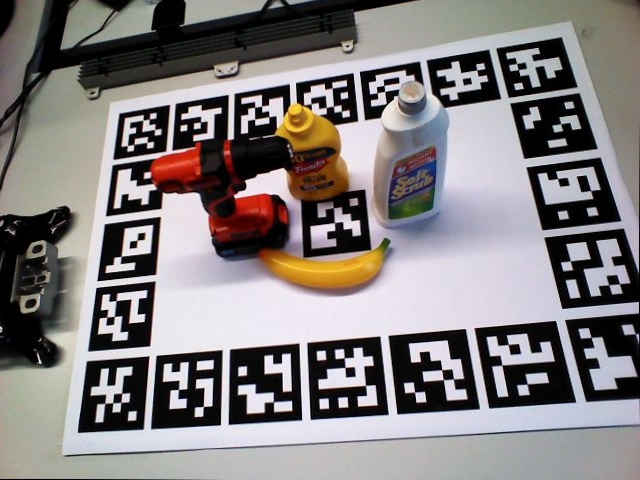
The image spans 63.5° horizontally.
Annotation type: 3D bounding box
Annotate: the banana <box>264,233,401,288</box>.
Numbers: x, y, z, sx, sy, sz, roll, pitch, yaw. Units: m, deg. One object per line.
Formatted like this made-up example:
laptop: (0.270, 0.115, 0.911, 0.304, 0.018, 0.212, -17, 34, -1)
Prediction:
banana: (0.016, 0.032, 0.730, 0.198, 0.039, 0.074, -4, 71, 12)

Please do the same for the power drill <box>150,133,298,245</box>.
power drill: (-0.108, -0.067, 0.694, 0.185, 0.187, 0.057, -8, 60, 5)

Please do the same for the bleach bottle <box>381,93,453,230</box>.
bleach bottle: (0.120, -0.095, 0.657, 0.103, 0.251, 0.067, -14, 67, 5)

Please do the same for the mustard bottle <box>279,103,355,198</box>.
mustard bottle: (-0.007, -0.127, 0.718, 0.096, 0.192, 0.058, -5, 67, 8)
